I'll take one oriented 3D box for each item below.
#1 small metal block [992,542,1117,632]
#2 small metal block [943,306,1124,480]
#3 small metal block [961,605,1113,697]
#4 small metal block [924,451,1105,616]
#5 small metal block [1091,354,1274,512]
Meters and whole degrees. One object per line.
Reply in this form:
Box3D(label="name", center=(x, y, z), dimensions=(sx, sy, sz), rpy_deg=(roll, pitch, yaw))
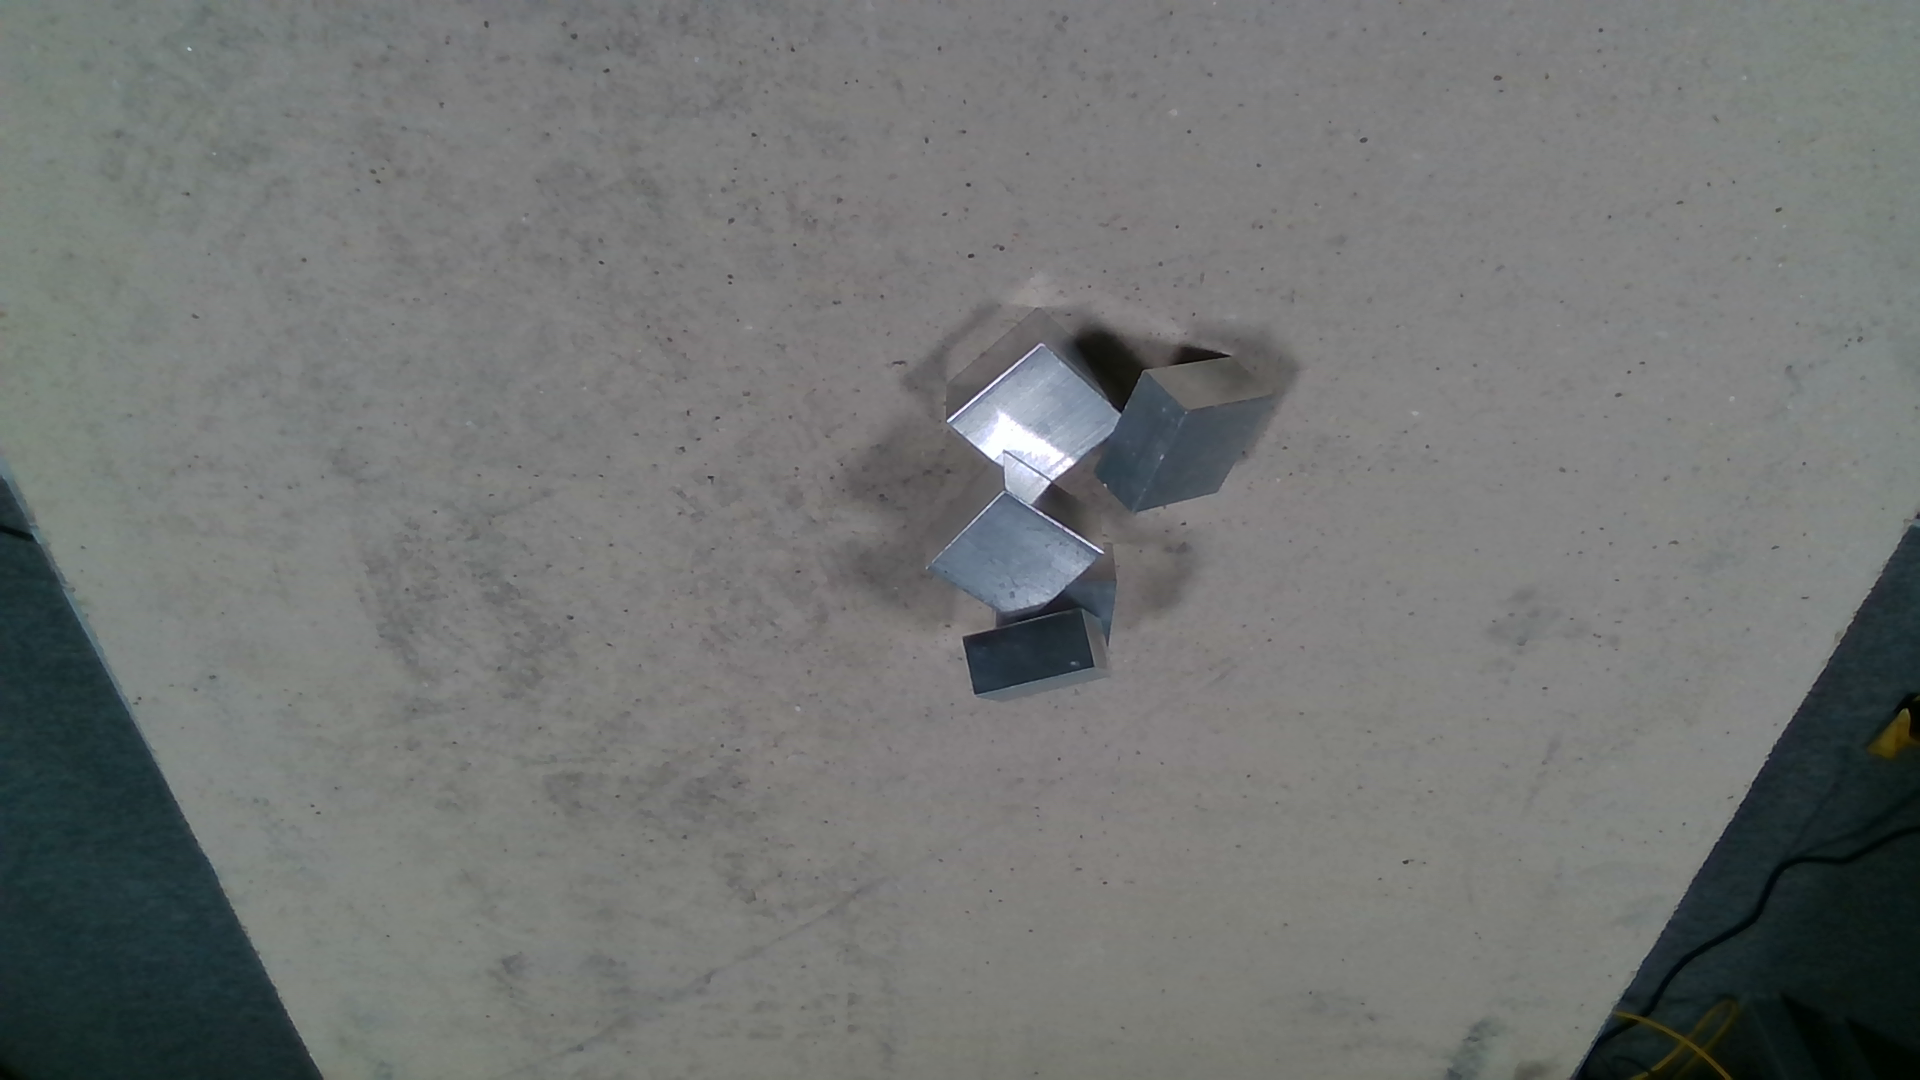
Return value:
Box3D(label="small metal block", center=(0.040, 0.028, 0.602), dimensions=(0.050, 0.025, 0.050), rpy_deg=(1, 130, -1))
Box3D(label="small metal block", center=(0.029, -0.053, 0.534), dimensions=(0.050, 0.025, 0.050), rpy_deg=(-37, 121, 27))
Box3D(label="small metal block", center=(0.033, 0.048, 0.571), dimensions=(0.050, 0.025, 0.050), rpy_deg=(-14, 168, 12))
Box3D(label="small metal block", center=(0.021, 0.001, 0.546), dimensions=(0.050, 0.025, 0.050), rpy_deg=(31, 124, -23))
Box3D(label="small metal block", center=(0.085, -0.042, 0.529), dimensions=(0.050, 0.025, 0.050), rpy_deg=(-14, 141, -38))
